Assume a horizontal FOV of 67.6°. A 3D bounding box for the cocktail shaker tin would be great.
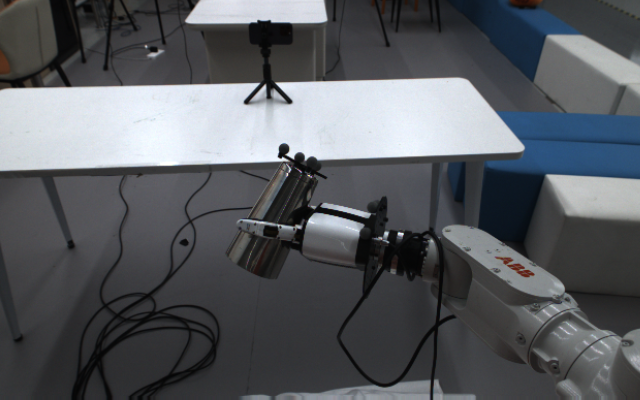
[{"bbox_3d":[-0.070,0.027,0.768,0.093,0.170,0.093,27,2,-1],"label":"cocktail shaker tin"}]
